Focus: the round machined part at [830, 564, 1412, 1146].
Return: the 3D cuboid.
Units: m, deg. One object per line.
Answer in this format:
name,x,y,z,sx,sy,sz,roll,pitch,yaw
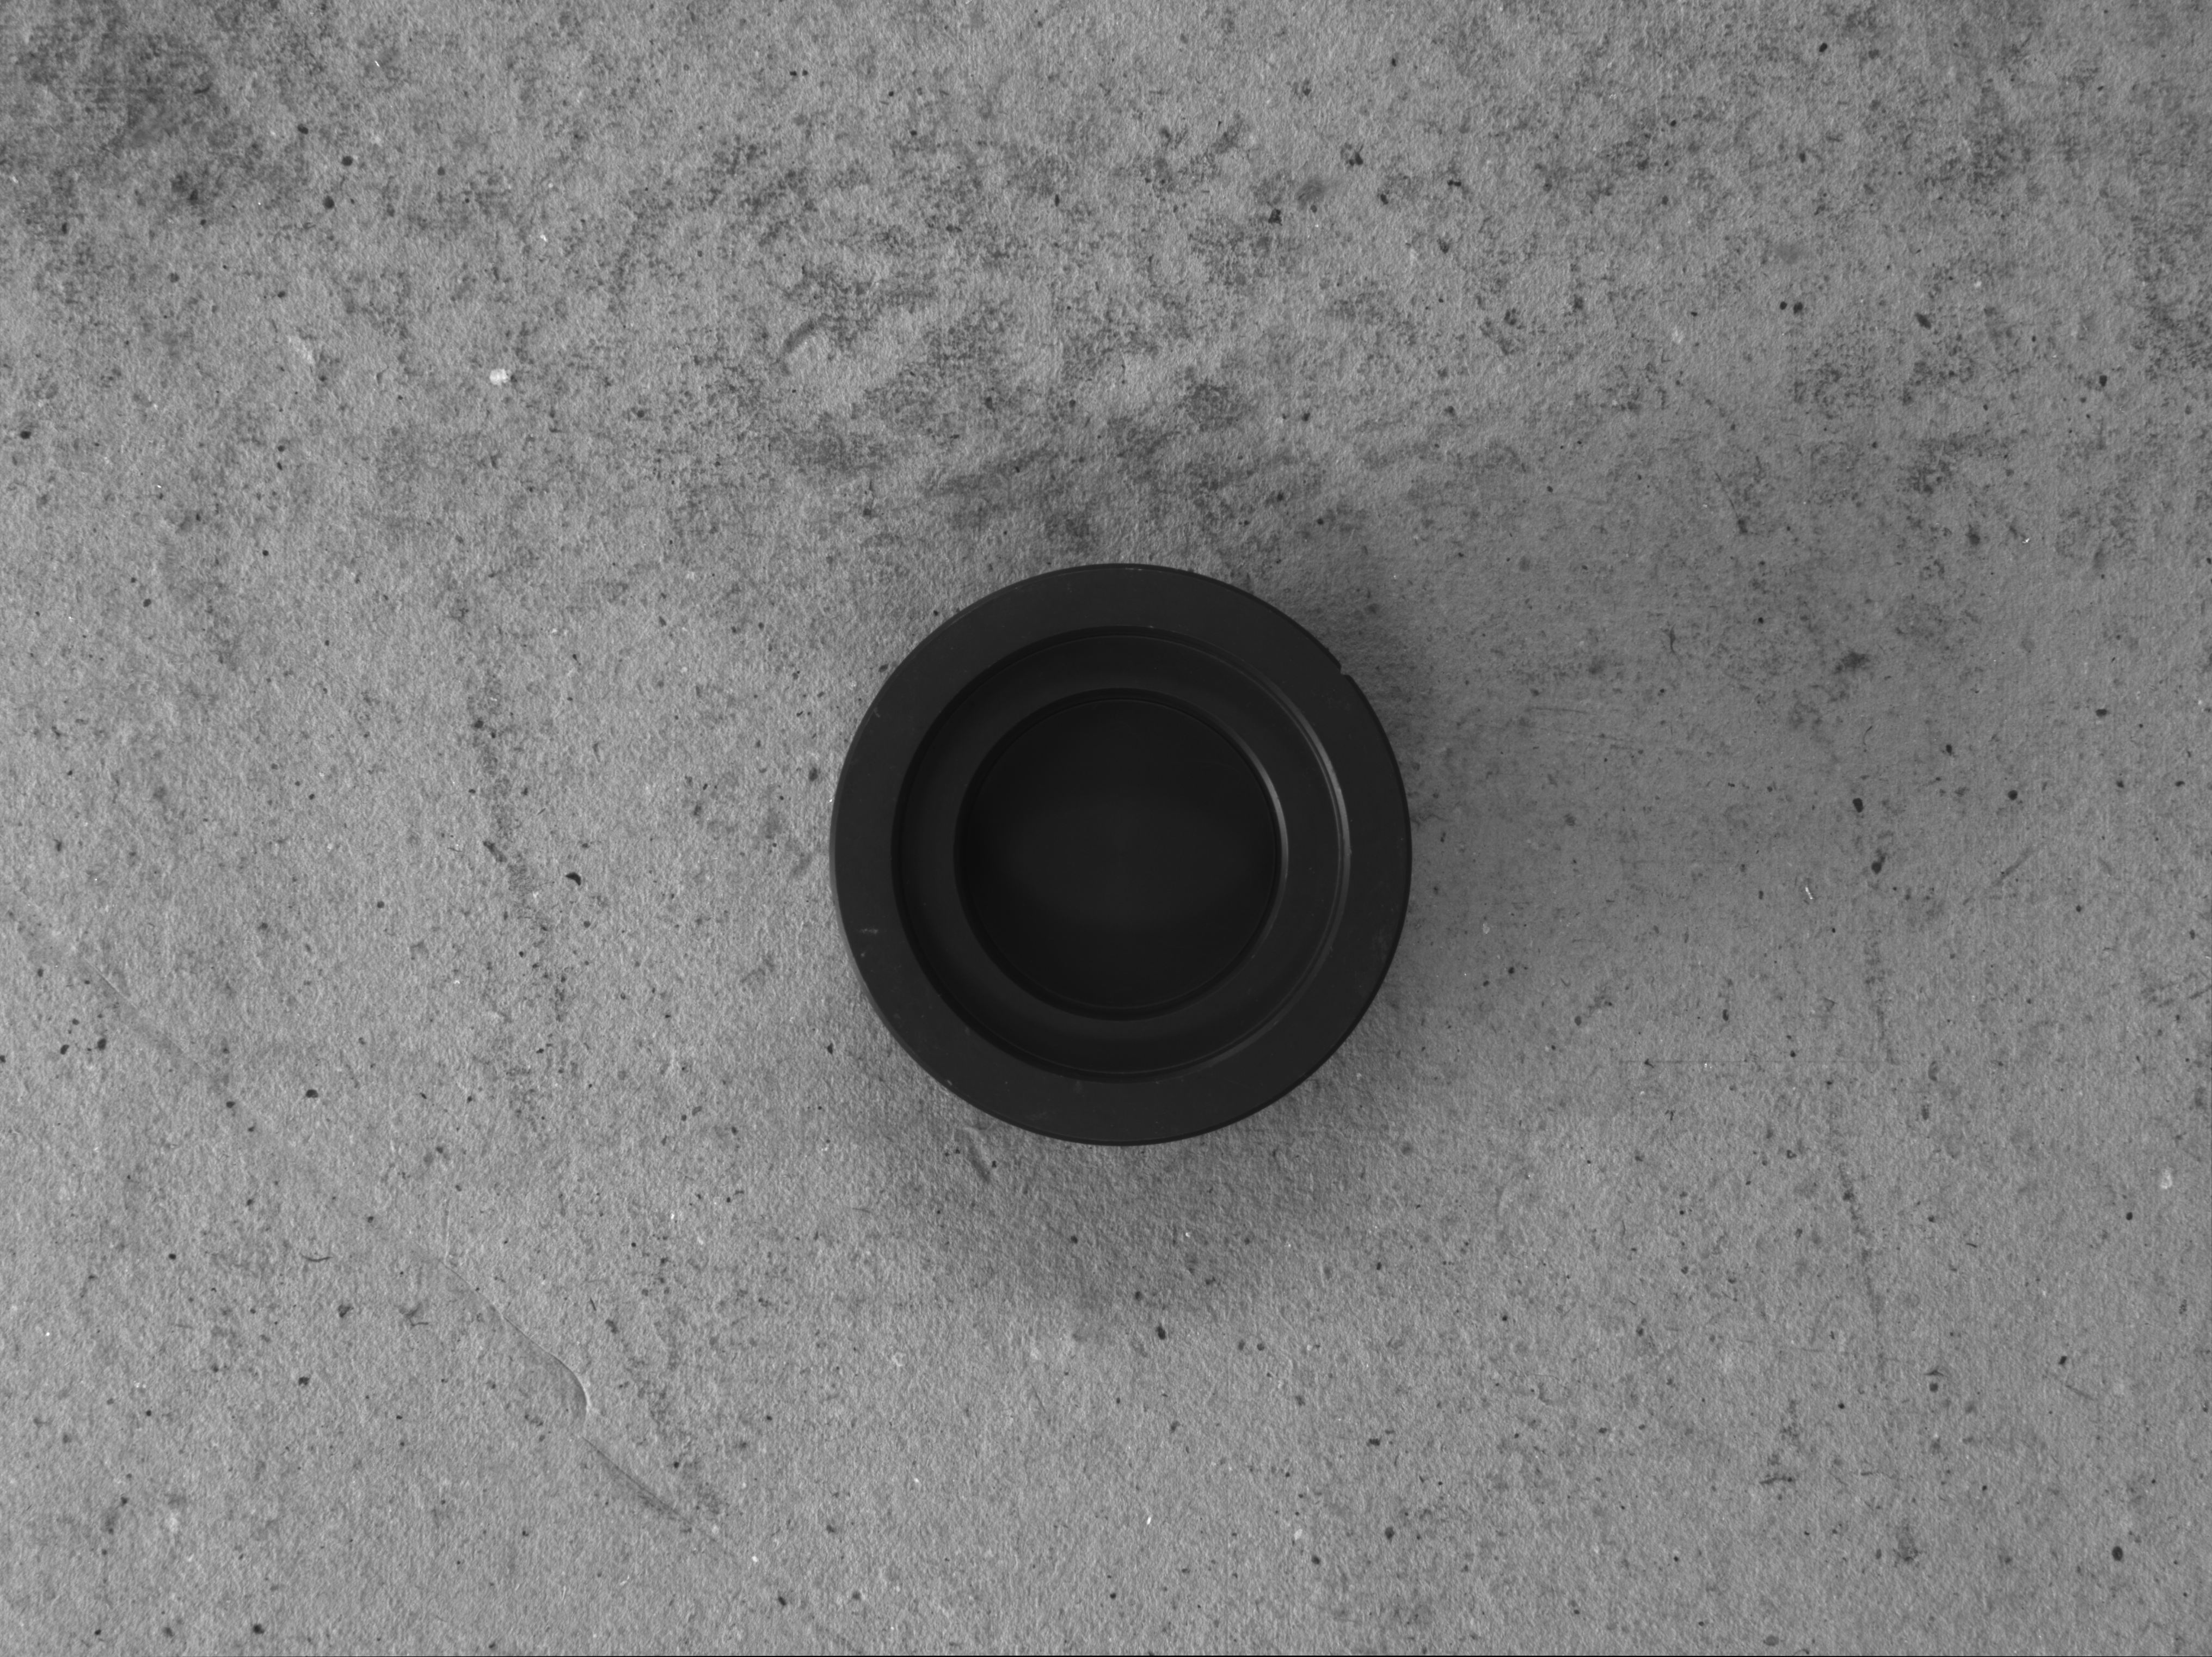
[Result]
round machined part,0.003,0.005,0.638,0.098,0.042,0.098,0,90,0
